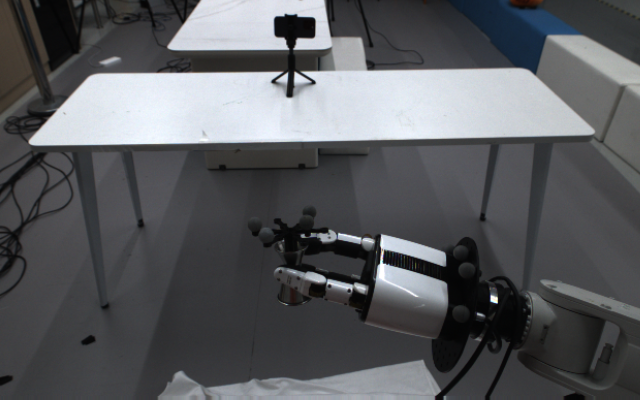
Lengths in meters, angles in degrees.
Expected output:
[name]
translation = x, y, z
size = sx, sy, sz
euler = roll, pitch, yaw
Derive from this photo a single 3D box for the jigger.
[jigger]
translation = -0.031, 0.084, 0.573
size = 0.043, 0.071, 0.043
euler = -2, 19, 1
